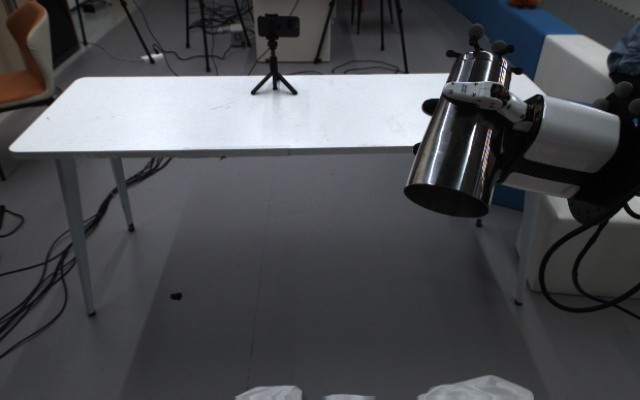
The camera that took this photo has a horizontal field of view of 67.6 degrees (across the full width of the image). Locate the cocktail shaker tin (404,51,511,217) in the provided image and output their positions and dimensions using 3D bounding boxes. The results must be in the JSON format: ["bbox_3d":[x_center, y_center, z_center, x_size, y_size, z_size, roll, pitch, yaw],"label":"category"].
[{"bbox_3d":[0.163,-0.076,0.541,0.093,0.093,0.170,15,75,18],"label":"cocktail shaker tin"}]
